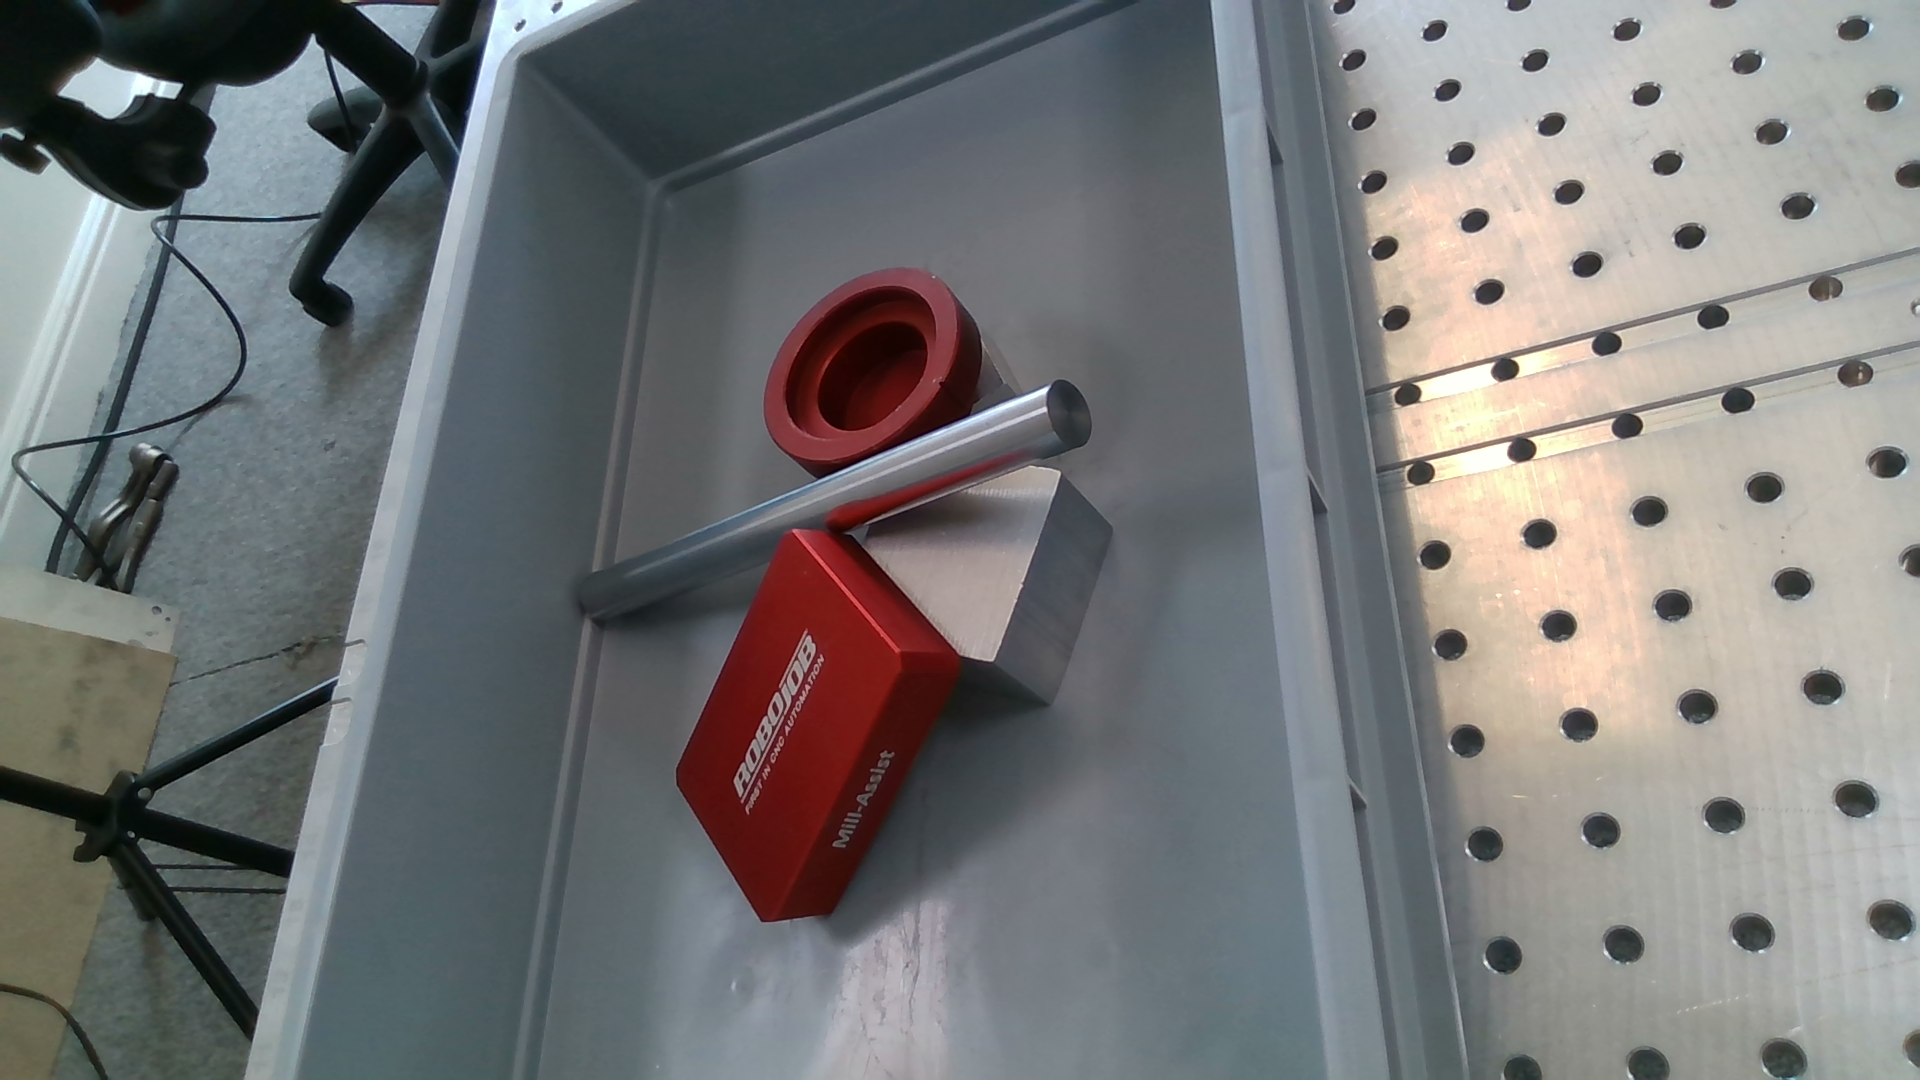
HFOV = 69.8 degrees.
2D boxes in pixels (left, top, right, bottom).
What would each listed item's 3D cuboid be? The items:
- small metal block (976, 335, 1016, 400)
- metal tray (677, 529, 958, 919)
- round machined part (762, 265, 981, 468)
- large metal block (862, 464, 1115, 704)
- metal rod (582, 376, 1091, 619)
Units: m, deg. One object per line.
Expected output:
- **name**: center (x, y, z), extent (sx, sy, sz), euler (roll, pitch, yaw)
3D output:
- **small metal block**: center (-0.003, -0.067, 0.623), extent (0.050, 0.025, 0.050), euler (-34, 53, 12)
- **metal tray**: center (-0.061, 0.073, 0.548), extent (0.090, 0.030, 0.130), euler (45, 118, 39)
- **round machined part**: center (-0.034, -0.066, 0.594), extent (0.098, 0.042, 0.098), euler (-16, 55, 25)
- **large metal block**: center (0.006, 0.013, 0.558), extent (0.080, 0.050, 0.080), euler (9, 71, 35)
- **metal rod**: center (-0.069, -0.009, 0.580), extent (0.300, 0.025, 0.025), euler (-19, 56, 41)
